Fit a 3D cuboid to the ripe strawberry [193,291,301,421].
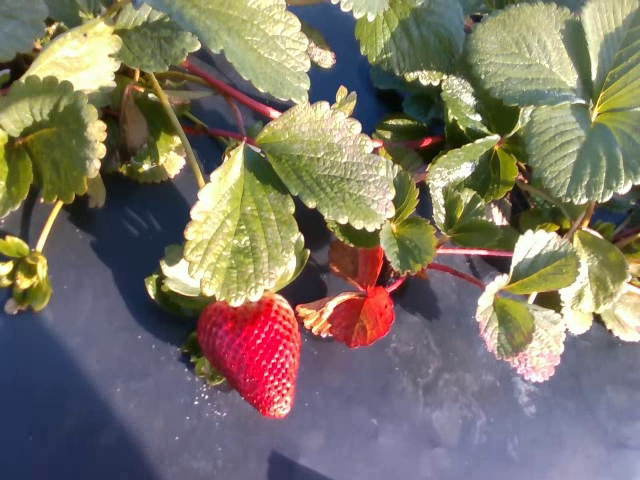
[{"bbox_3d":[-0.024,0.042,0.211,0.040,0.056,0.041,-23,-38,-4],"label":"ripe strawberry"}]
